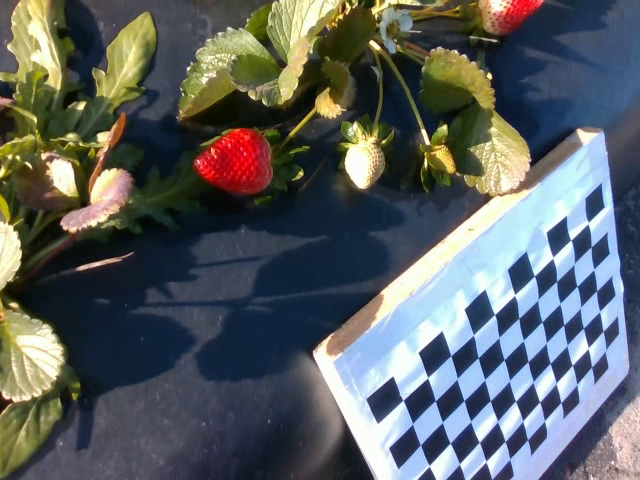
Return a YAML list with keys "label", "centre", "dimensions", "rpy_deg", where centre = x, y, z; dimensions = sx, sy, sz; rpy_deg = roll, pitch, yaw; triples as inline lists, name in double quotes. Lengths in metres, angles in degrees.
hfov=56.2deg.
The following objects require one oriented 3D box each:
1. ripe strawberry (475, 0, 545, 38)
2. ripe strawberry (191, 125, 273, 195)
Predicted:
- label: "ripe strawberry"
  centre: [0.119, -0.147, 0.378]
  dimensions: [0.045, 0.042, 0.037]
  rpy_deg: [-11, -43, 36]
- label: "ripe strawberry"
  centre: [-0.045, -0.041, 0.303]
  dimensions: [0.053, 0.044, 0.036]
  rpy_deg: [-13, 22, -41]
